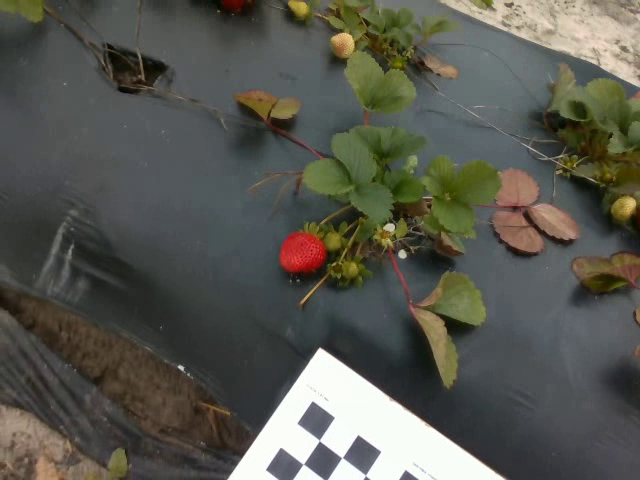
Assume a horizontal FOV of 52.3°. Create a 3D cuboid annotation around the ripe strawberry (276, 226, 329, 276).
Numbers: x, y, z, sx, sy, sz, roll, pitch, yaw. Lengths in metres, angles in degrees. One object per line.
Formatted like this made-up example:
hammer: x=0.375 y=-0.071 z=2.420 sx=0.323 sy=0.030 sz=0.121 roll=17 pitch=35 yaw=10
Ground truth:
ripe strawberry: x=-0.006 y=0.004 z=0.175 sx=0.017 sy=0.018 sz=0.014 roll=-45 pitch=-5 yaw=-48
